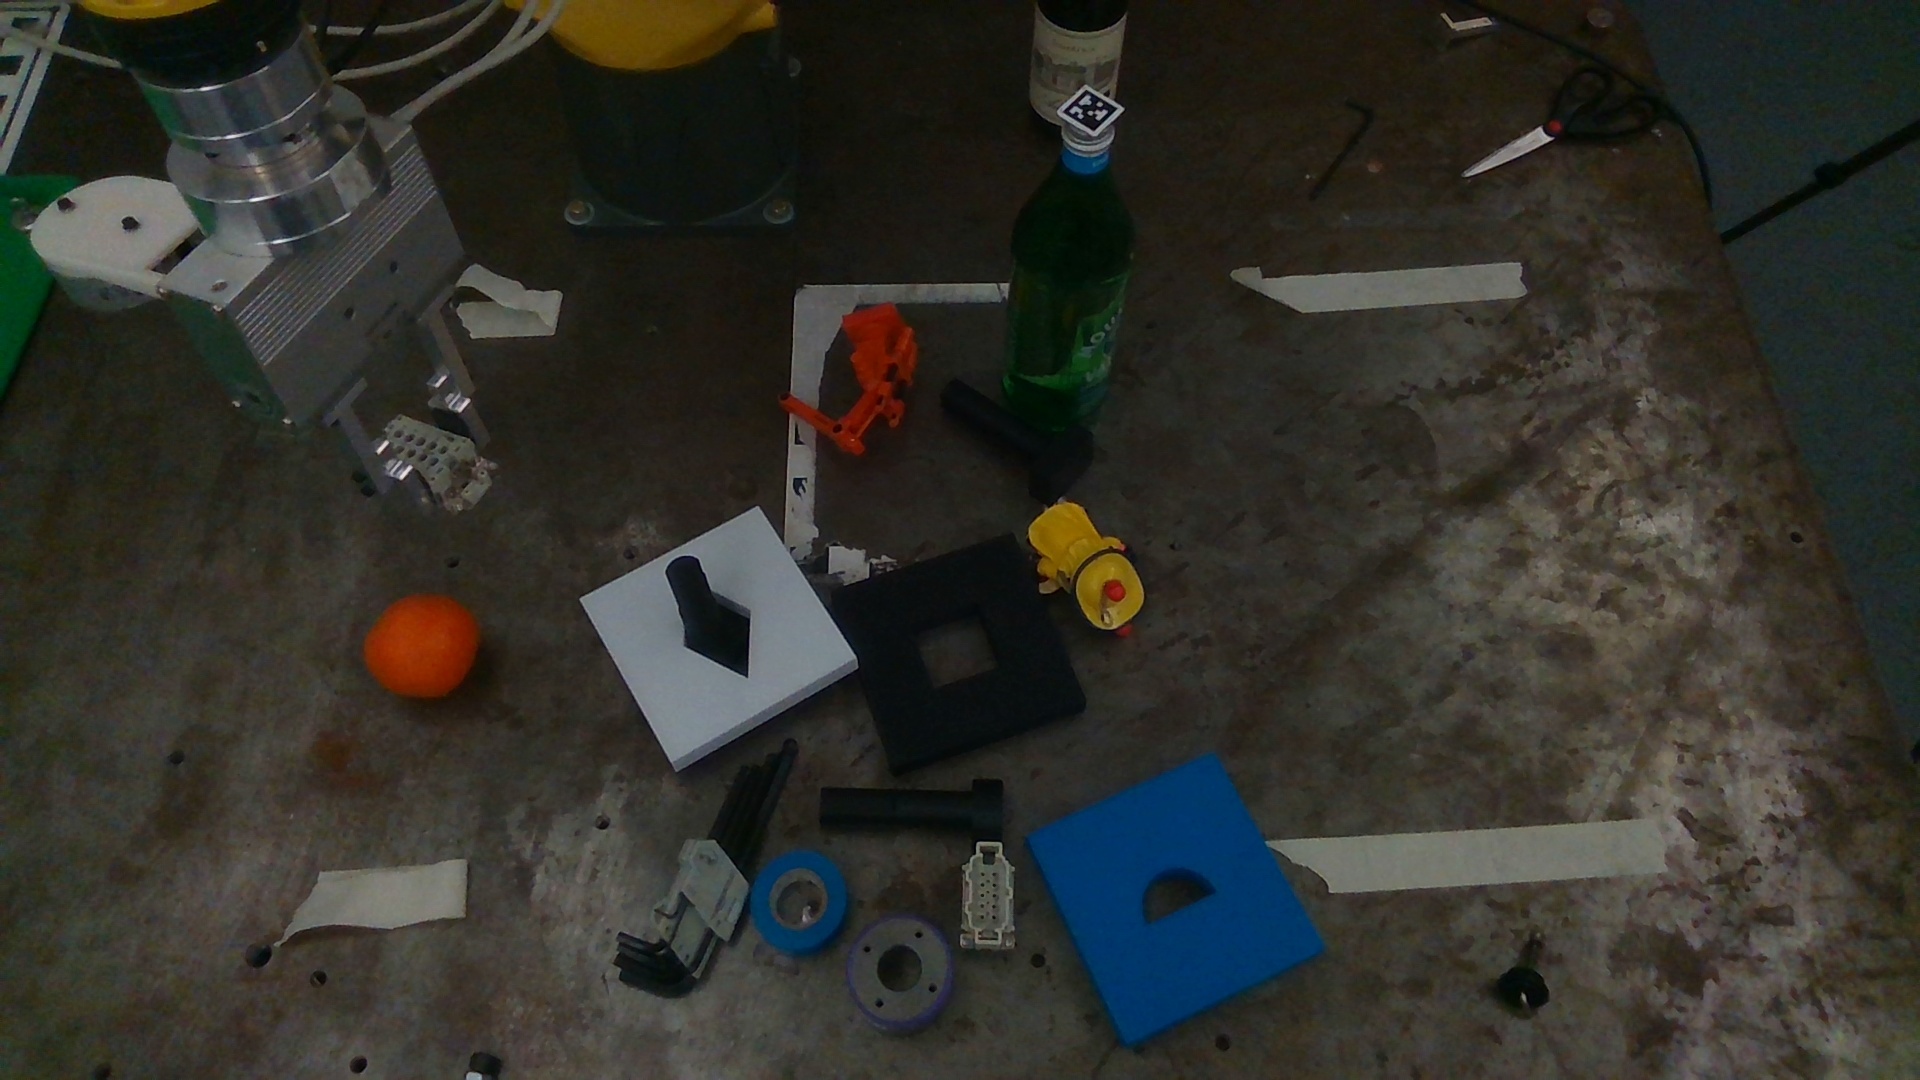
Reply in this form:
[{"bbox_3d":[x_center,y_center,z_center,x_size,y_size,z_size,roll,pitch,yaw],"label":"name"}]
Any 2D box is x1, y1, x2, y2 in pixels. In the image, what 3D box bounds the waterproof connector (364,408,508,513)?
[{"bbox_3d":[-0.274,-0.038,0.721,0.069,0.038,0.036,20,53,9],"label":"waterproof connector"}]
